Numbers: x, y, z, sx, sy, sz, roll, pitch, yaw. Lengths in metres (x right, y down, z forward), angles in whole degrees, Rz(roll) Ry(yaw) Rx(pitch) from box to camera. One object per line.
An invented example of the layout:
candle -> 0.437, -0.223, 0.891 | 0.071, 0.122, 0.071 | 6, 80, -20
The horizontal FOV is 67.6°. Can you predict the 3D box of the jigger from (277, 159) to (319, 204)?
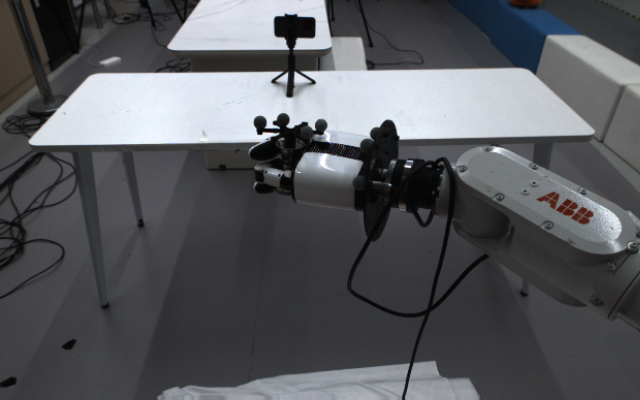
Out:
jigger -> -0.038, -0.047, 0.673 | 0.043, 0.071, 0.043 | 3, 25, -1
